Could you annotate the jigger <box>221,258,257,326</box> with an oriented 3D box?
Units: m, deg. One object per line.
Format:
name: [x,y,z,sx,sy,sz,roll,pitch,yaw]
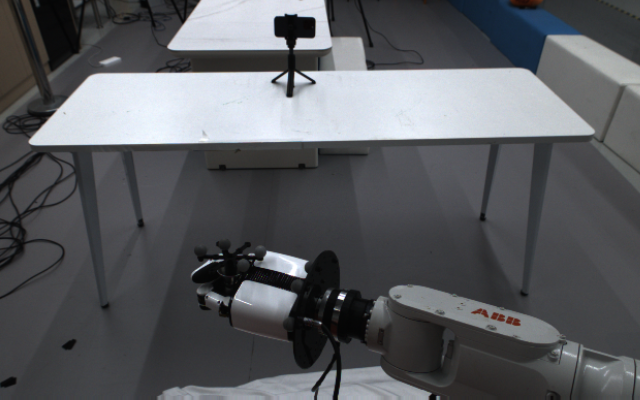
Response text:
jigger: [-0.121,0.124,0.692,0.043,0.071,0.043,3,25,-1]
